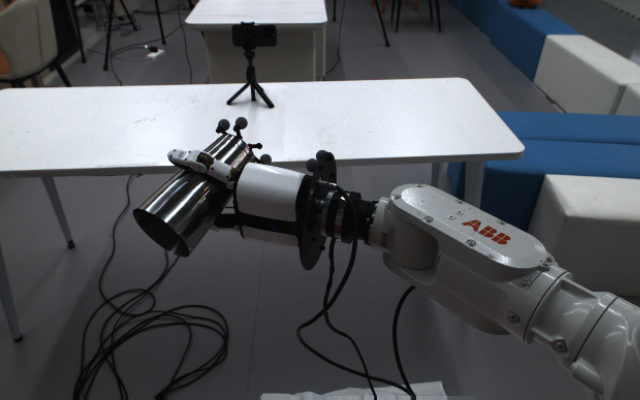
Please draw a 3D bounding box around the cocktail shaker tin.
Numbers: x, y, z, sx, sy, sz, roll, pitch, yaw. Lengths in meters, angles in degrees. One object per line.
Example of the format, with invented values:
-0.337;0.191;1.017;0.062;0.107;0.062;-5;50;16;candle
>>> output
-0.163;-0.018;0.671;0.093;0.093;0.170;19;55;23;cocktail shaker tin
